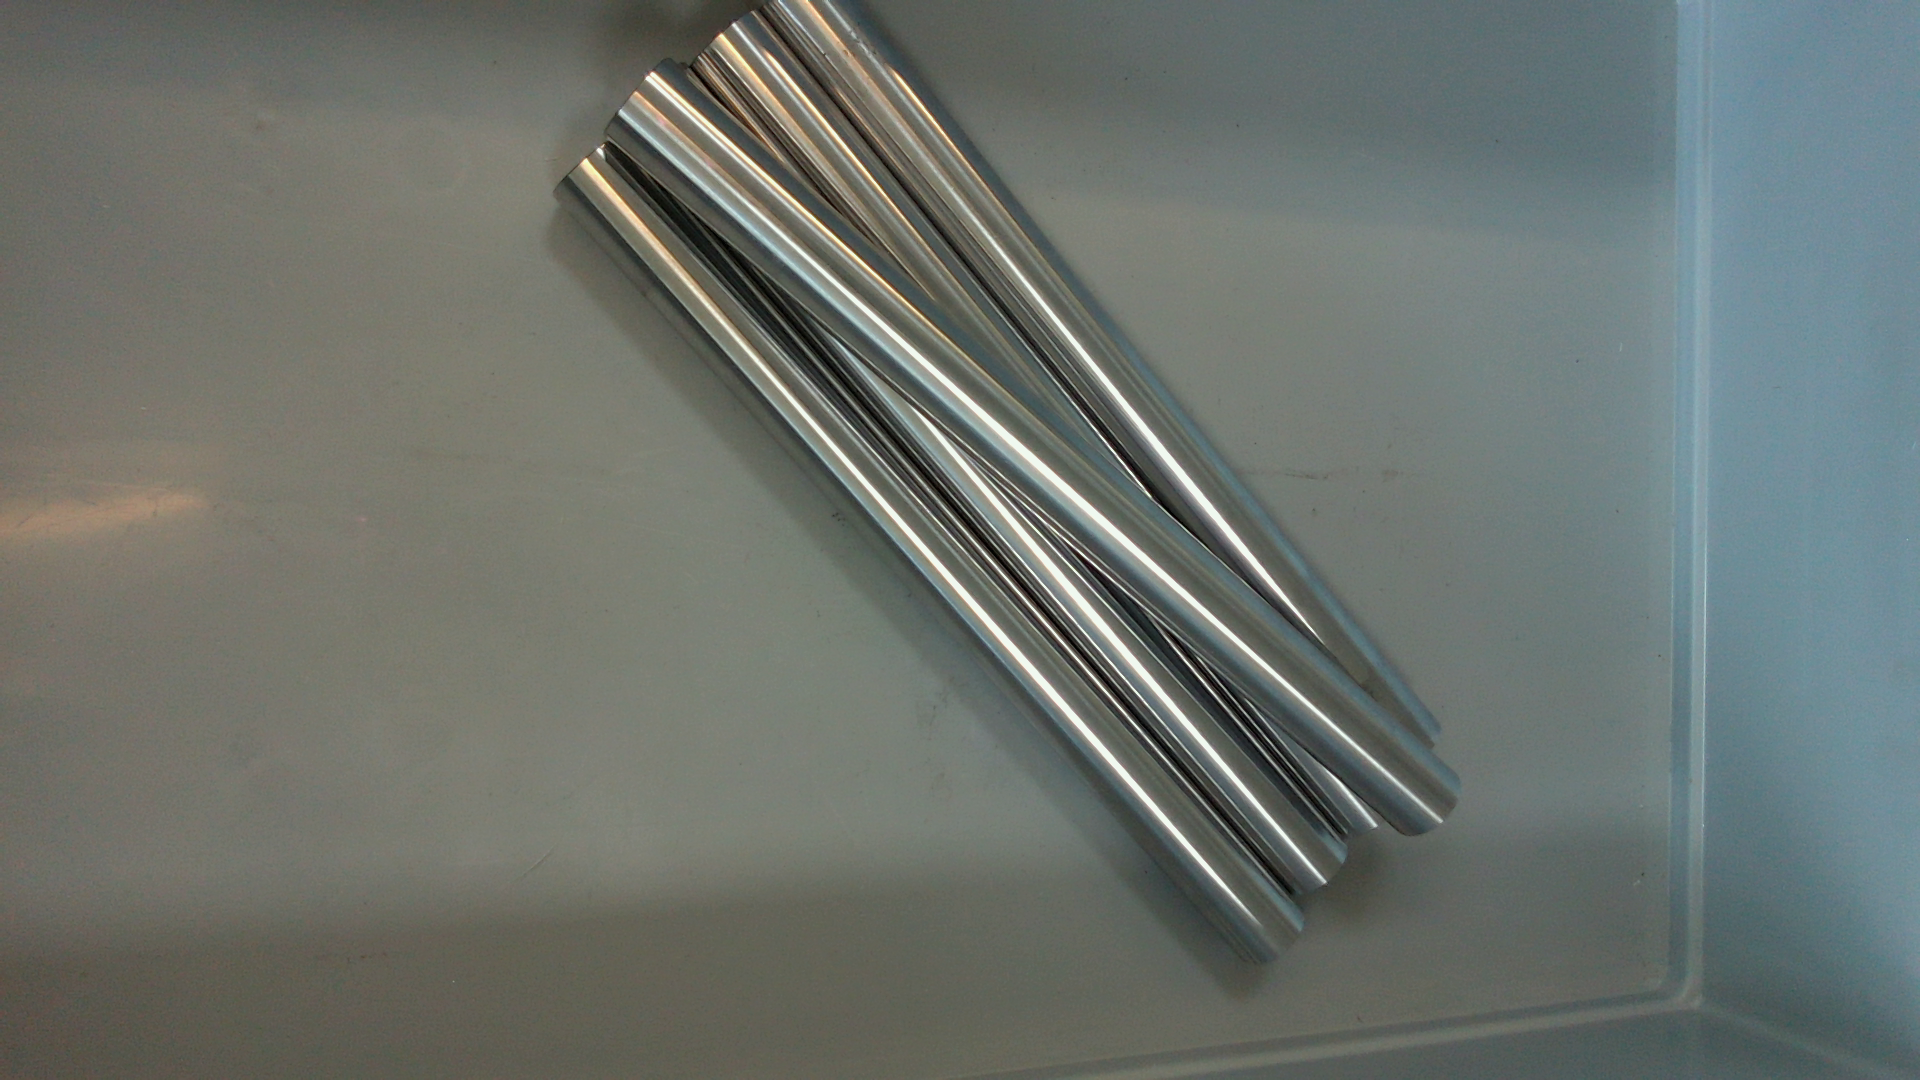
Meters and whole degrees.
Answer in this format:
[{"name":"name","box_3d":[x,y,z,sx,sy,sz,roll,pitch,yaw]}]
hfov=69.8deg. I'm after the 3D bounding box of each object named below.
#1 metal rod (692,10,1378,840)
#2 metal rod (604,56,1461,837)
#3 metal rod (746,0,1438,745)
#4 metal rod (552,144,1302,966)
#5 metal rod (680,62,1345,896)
[{"name":"metal rod","box_3d":[0.032,-0.024,0.404,0.025,0.025,0.300,-45,104,-14]},{"name":"metal rod","box_3d":[0.031,-0.015,0.376,0.300,0.025,0.025,41,77,-16]},{"name":"metal rod","box_3d":[0.047,-0.044,0.410,0.025,0.025,0.300,-45,104,-14]},{"name":"metal rod","box_3d":[0.000,0.012,0.392,0.025,0.025,0.300,-45,104,-14]},{"name":"metal rod","box_3d":[0.014,-0.008,0.398,0.025,0.025,0.300,-45,104,-14]}]
